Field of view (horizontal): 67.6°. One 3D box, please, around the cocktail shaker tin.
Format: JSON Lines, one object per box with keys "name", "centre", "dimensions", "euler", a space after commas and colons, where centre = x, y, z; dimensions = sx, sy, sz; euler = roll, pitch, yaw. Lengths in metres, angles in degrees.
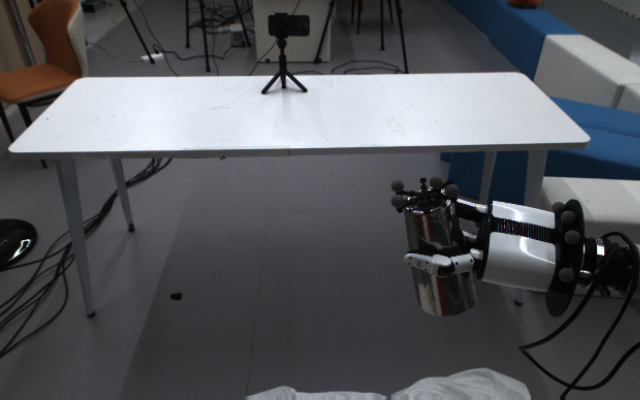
{"name": "cocktail shaker tin", "centre": [0.168, 0.069, 0.686], "dimensions": [0.093, 0.170, 0.093], "euler": [-15, 29, 8]}
